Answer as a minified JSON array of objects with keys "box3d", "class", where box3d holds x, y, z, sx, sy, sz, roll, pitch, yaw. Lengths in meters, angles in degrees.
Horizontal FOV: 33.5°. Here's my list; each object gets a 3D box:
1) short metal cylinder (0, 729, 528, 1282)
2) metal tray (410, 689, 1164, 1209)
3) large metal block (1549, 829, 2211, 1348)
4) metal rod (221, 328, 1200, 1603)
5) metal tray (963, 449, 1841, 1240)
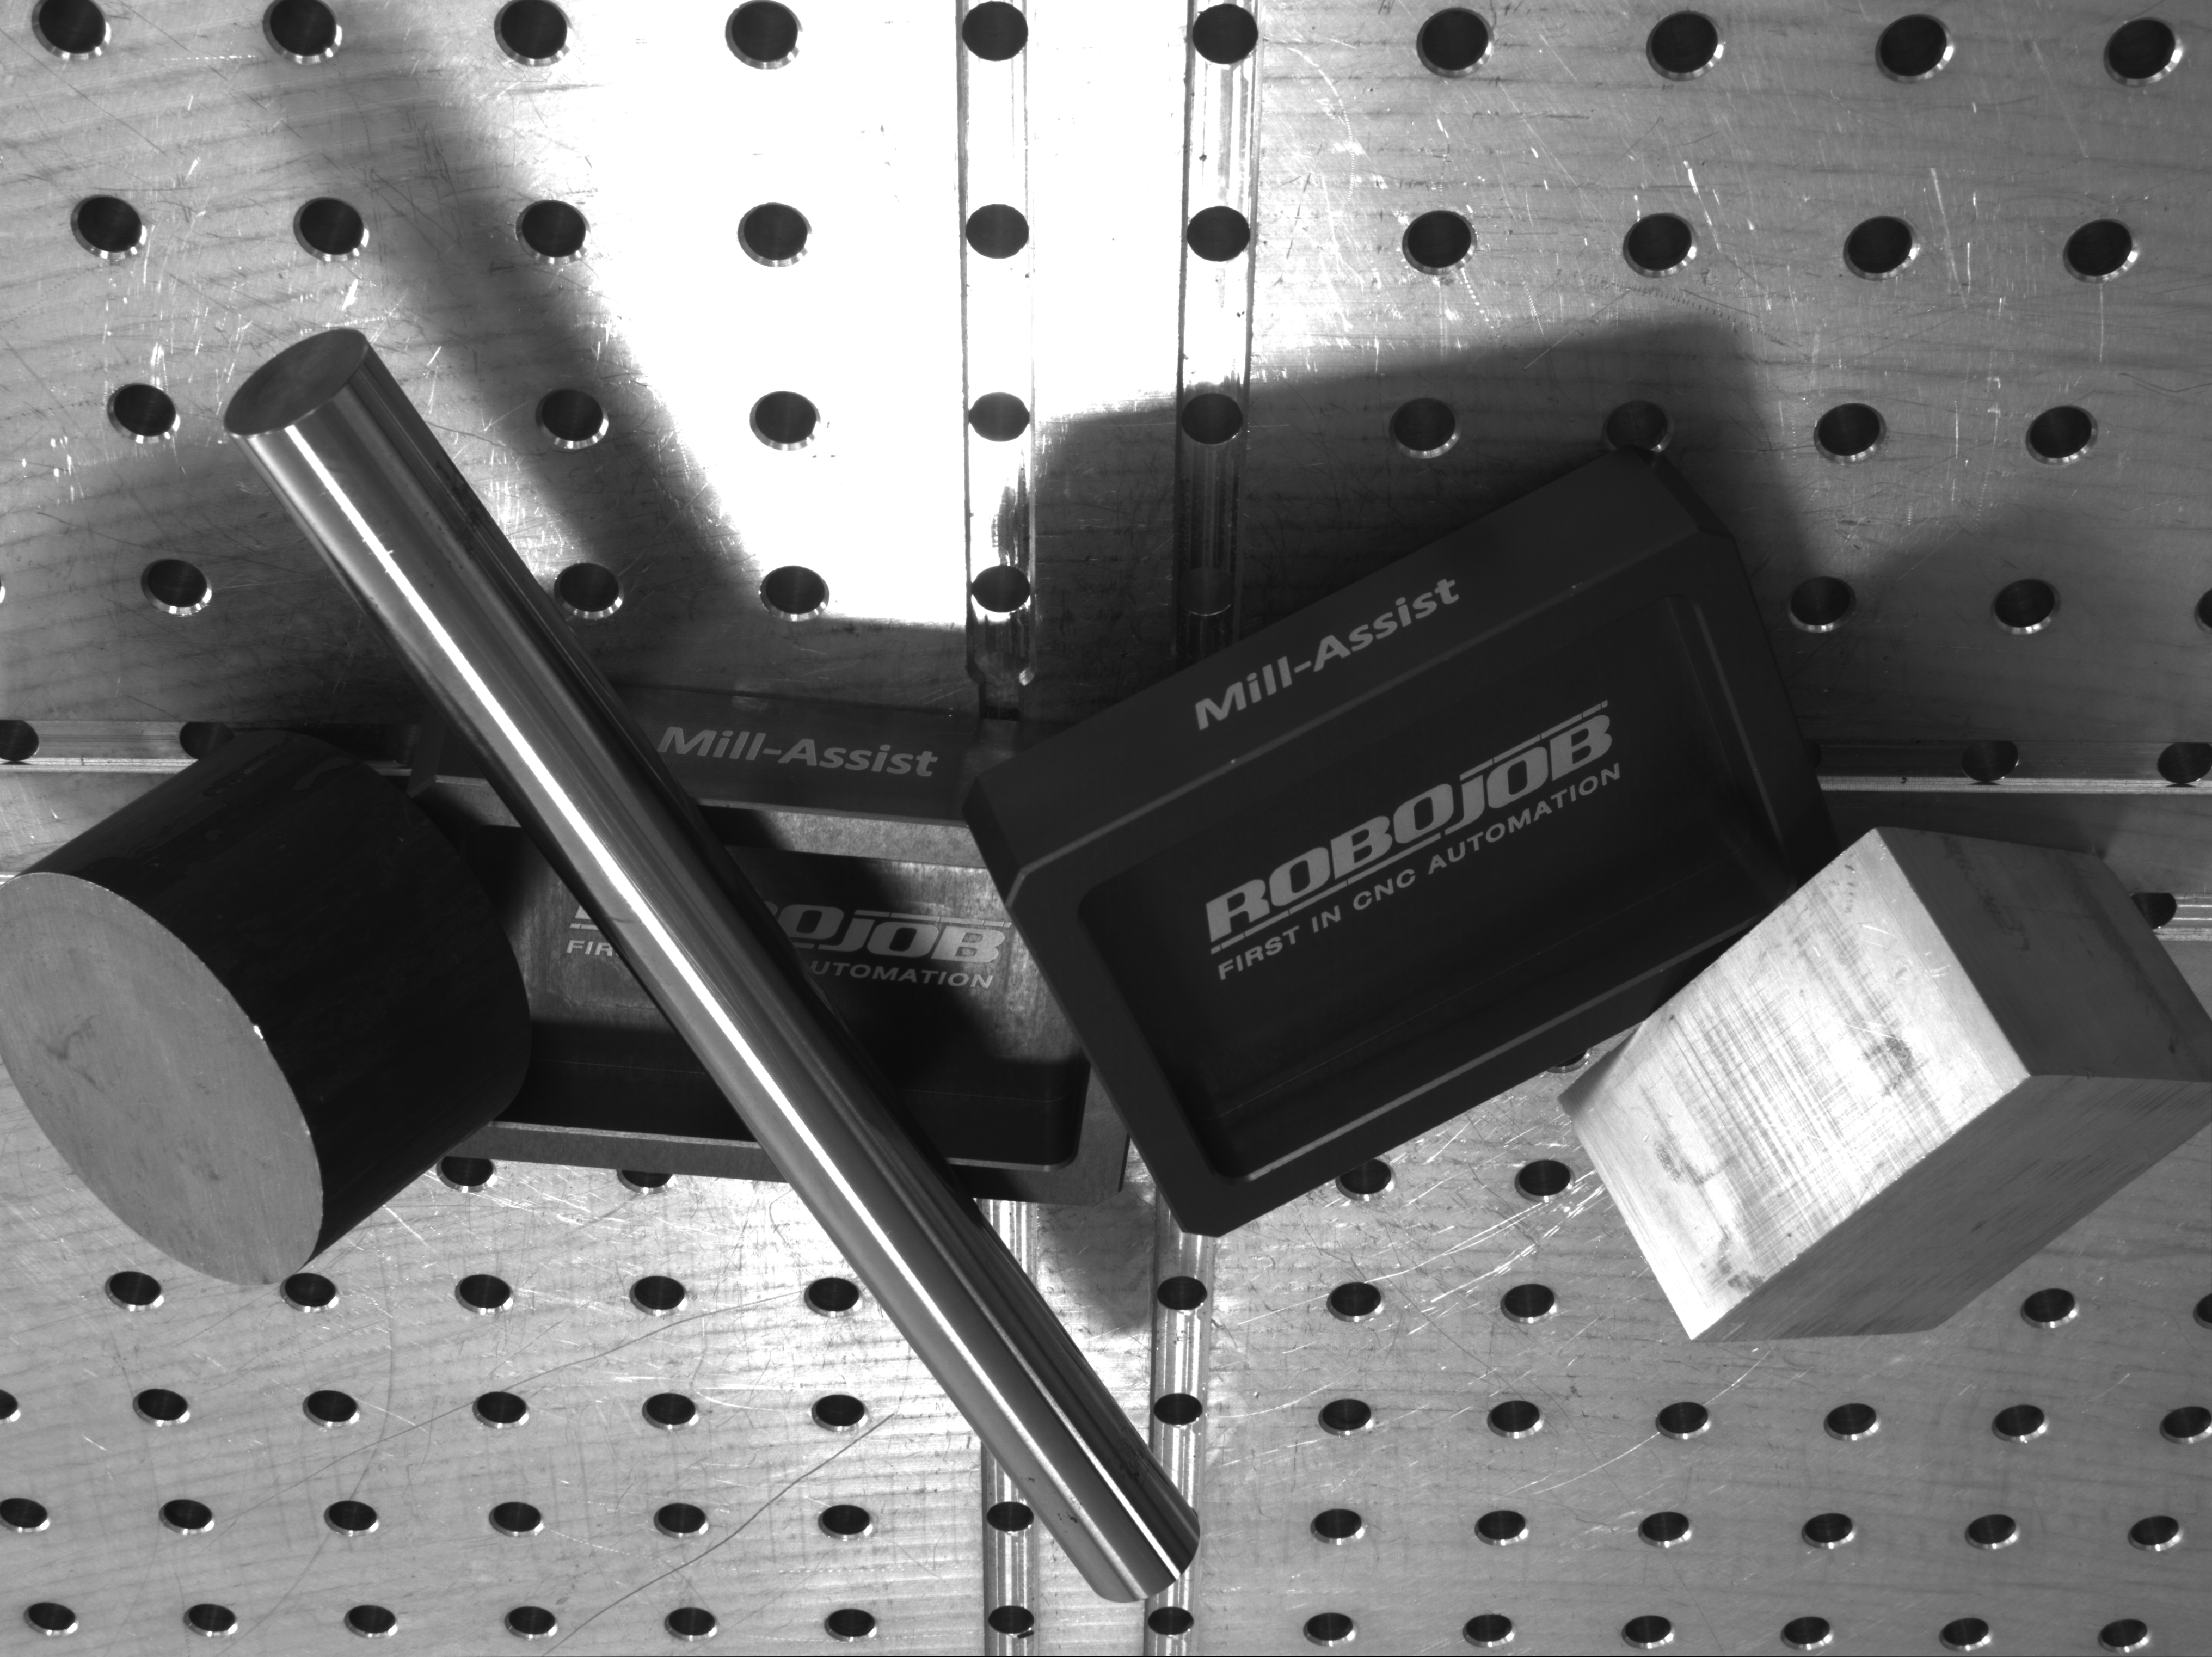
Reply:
[{"box3d":[-0.146,0.030,0.628,0.080,0.050,0.080,22,131,28],"class":"short metal cylinder"},{"box3d":[-0.057,0.022,0.657,0.130,0.030,0.090,5,130,-4],"class":"metal tray"},{"box3d":[0.140,0.047,0.643,0.080,0.050,0.080,6,138,-47],"class":"large metal block"},{"box3d":[-0.057,0.038,0.635,0.025,0.025,0.301,-20,127,16],"class":"metal rod"},{"box3d":[0.053,0.004,0.619,0.130,0.030,0.090,-27,127,0],"class":"metal tray"}]
